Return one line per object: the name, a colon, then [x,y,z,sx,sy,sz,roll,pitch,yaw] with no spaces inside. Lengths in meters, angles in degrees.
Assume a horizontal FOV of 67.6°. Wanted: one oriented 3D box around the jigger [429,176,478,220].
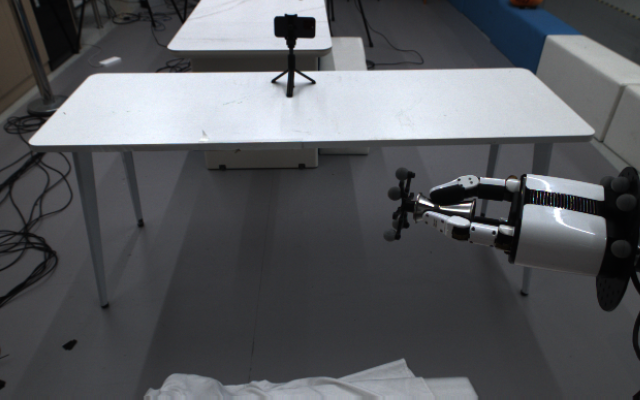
jigger: [0.159,0.012,0.595,0.071,0.043,0.043,10,35,22]
